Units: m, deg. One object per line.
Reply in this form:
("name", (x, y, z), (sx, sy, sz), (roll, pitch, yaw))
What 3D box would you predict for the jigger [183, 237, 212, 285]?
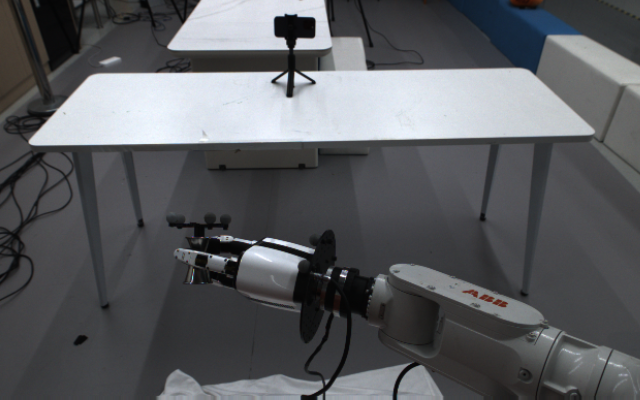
("jigger", (-0.180, 0.089, 0.713), (0.043, 0.071, 0.043), (1, -4, 0))
